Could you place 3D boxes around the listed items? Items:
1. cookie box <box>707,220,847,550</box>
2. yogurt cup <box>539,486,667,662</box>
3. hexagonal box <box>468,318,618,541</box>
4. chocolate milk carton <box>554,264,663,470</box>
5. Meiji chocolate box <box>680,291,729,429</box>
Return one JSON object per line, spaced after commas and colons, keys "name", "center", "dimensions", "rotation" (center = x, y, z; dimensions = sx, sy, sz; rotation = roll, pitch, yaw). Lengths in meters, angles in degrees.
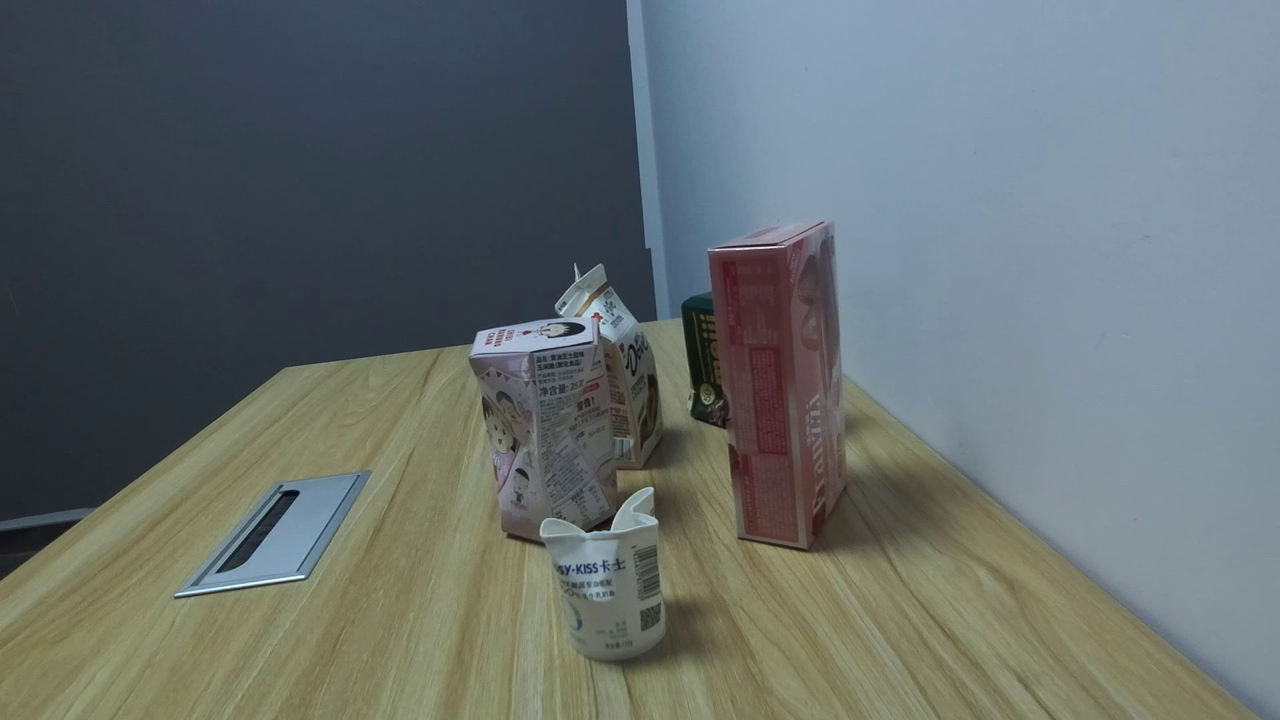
{"name": "cookie box", "center": [0.092, 0.013, 0.441], "dimensions": [0.048, 0.185, 0.096], "rotation": [2, 19, 29]}
{"name": "yogurt cup", "center": [-0.015, 0.108, 0.360], "dimensions": [0.055, 0.072, 0.055], "rotation": [-5, 22, 7]}
{"name": "hexagonal box", "center": [-0.062, 0.045, 0.481], "dimensions": [0.093, 0.134, 0.088], "rotation": [-20, 21, -35]}
{"name": "chocolate milk carton", "center": [-0.032, 0.002, 0.569], "dimensions": [0.073, 0.155, 0.076], "rotation": [-2, 19, 19]}
{"name": "Meiji chocolate box", "center": [0.092, 0.002, 0.593], "dimensions": [0.059, 0.116, 0.122], "rotation": [-22, 23, -33]}
